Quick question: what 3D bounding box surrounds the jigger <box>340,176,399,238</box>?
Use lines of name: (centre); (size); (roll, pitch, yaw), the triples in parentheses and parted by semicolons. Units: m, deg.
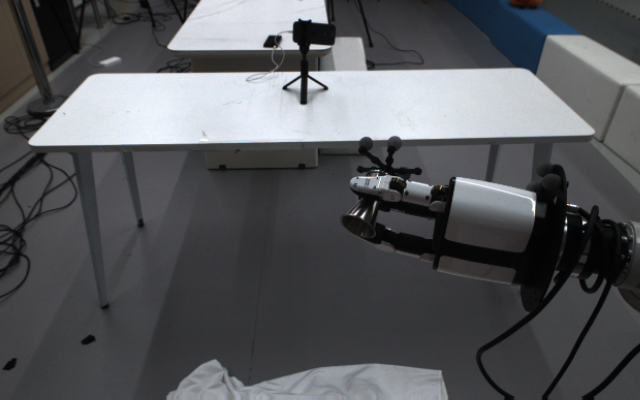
jigger: (0.057, 0.001, 0.552); (0.043, 0.043, 0.071); (19, 61, 23)
